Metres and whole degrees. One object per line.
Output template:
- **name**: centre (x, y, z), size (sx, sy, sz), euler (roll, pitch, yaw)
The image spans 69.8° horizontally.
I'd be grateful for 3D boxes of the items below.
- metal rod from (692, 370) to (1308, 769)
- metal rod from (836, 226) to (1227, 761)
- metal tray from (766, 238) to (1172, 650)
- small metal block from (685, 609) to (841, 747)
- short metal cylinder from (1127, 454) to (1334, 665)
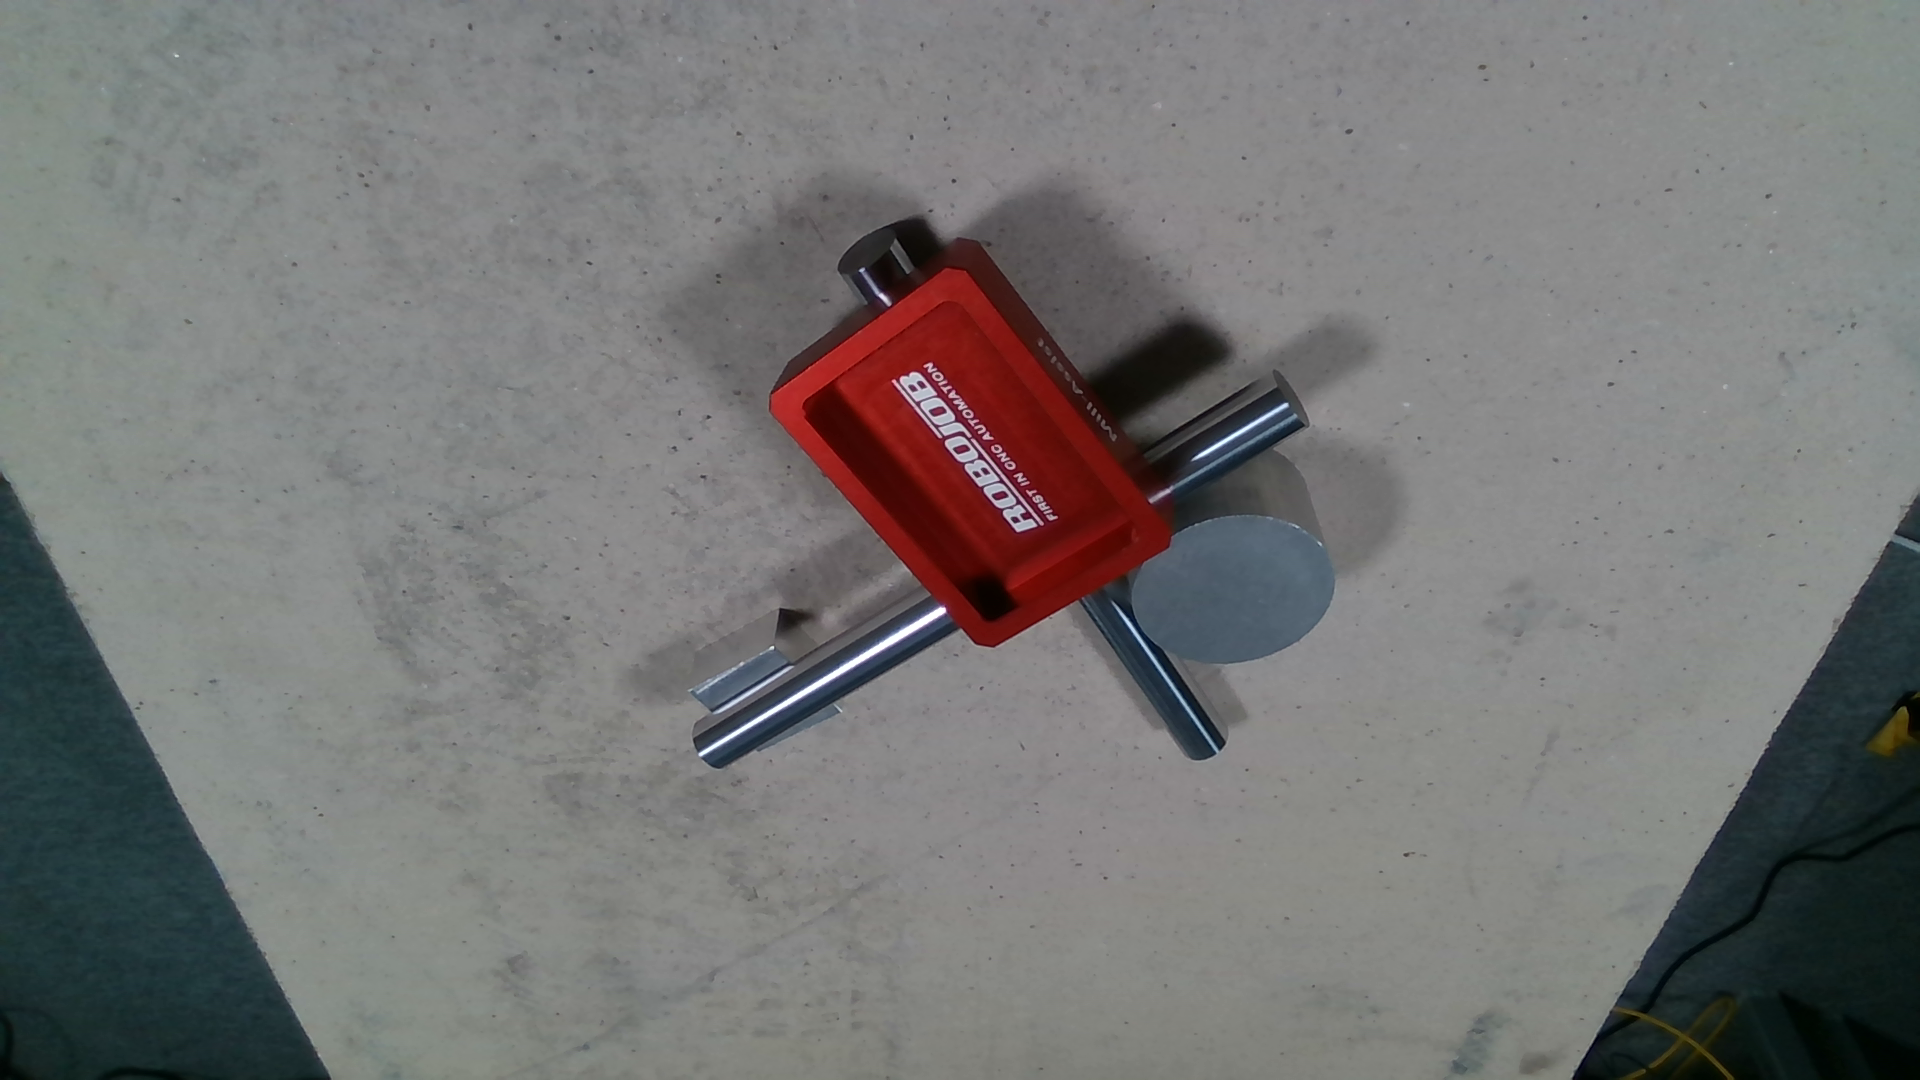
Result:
- **metal rod**: centre (0.005, 0.020, 0.564), size (0.300, 0.025, 0.025), euler (-32, 123, 24)
- **metal rod**: centre (0.041, -0.004, 0.576), size (0.025, 0.025, 0.301), euler (-24, 126, 19)
- **metal tray**: centre (0.005, -0.031, 0.500), size (0.090, 0.030, 0.130), euler (-32, 111, 23)
- **small metal block**: centre (-0.089, 0.066, 0.634), size (0.050, 0.025, 0.050), euler (-27, 125, 21)
- **short metal cylinder**: centre (0.108, 0.006, 0.567), size (0.080, 0.050, 0.080), euler (0, 130, 0)
